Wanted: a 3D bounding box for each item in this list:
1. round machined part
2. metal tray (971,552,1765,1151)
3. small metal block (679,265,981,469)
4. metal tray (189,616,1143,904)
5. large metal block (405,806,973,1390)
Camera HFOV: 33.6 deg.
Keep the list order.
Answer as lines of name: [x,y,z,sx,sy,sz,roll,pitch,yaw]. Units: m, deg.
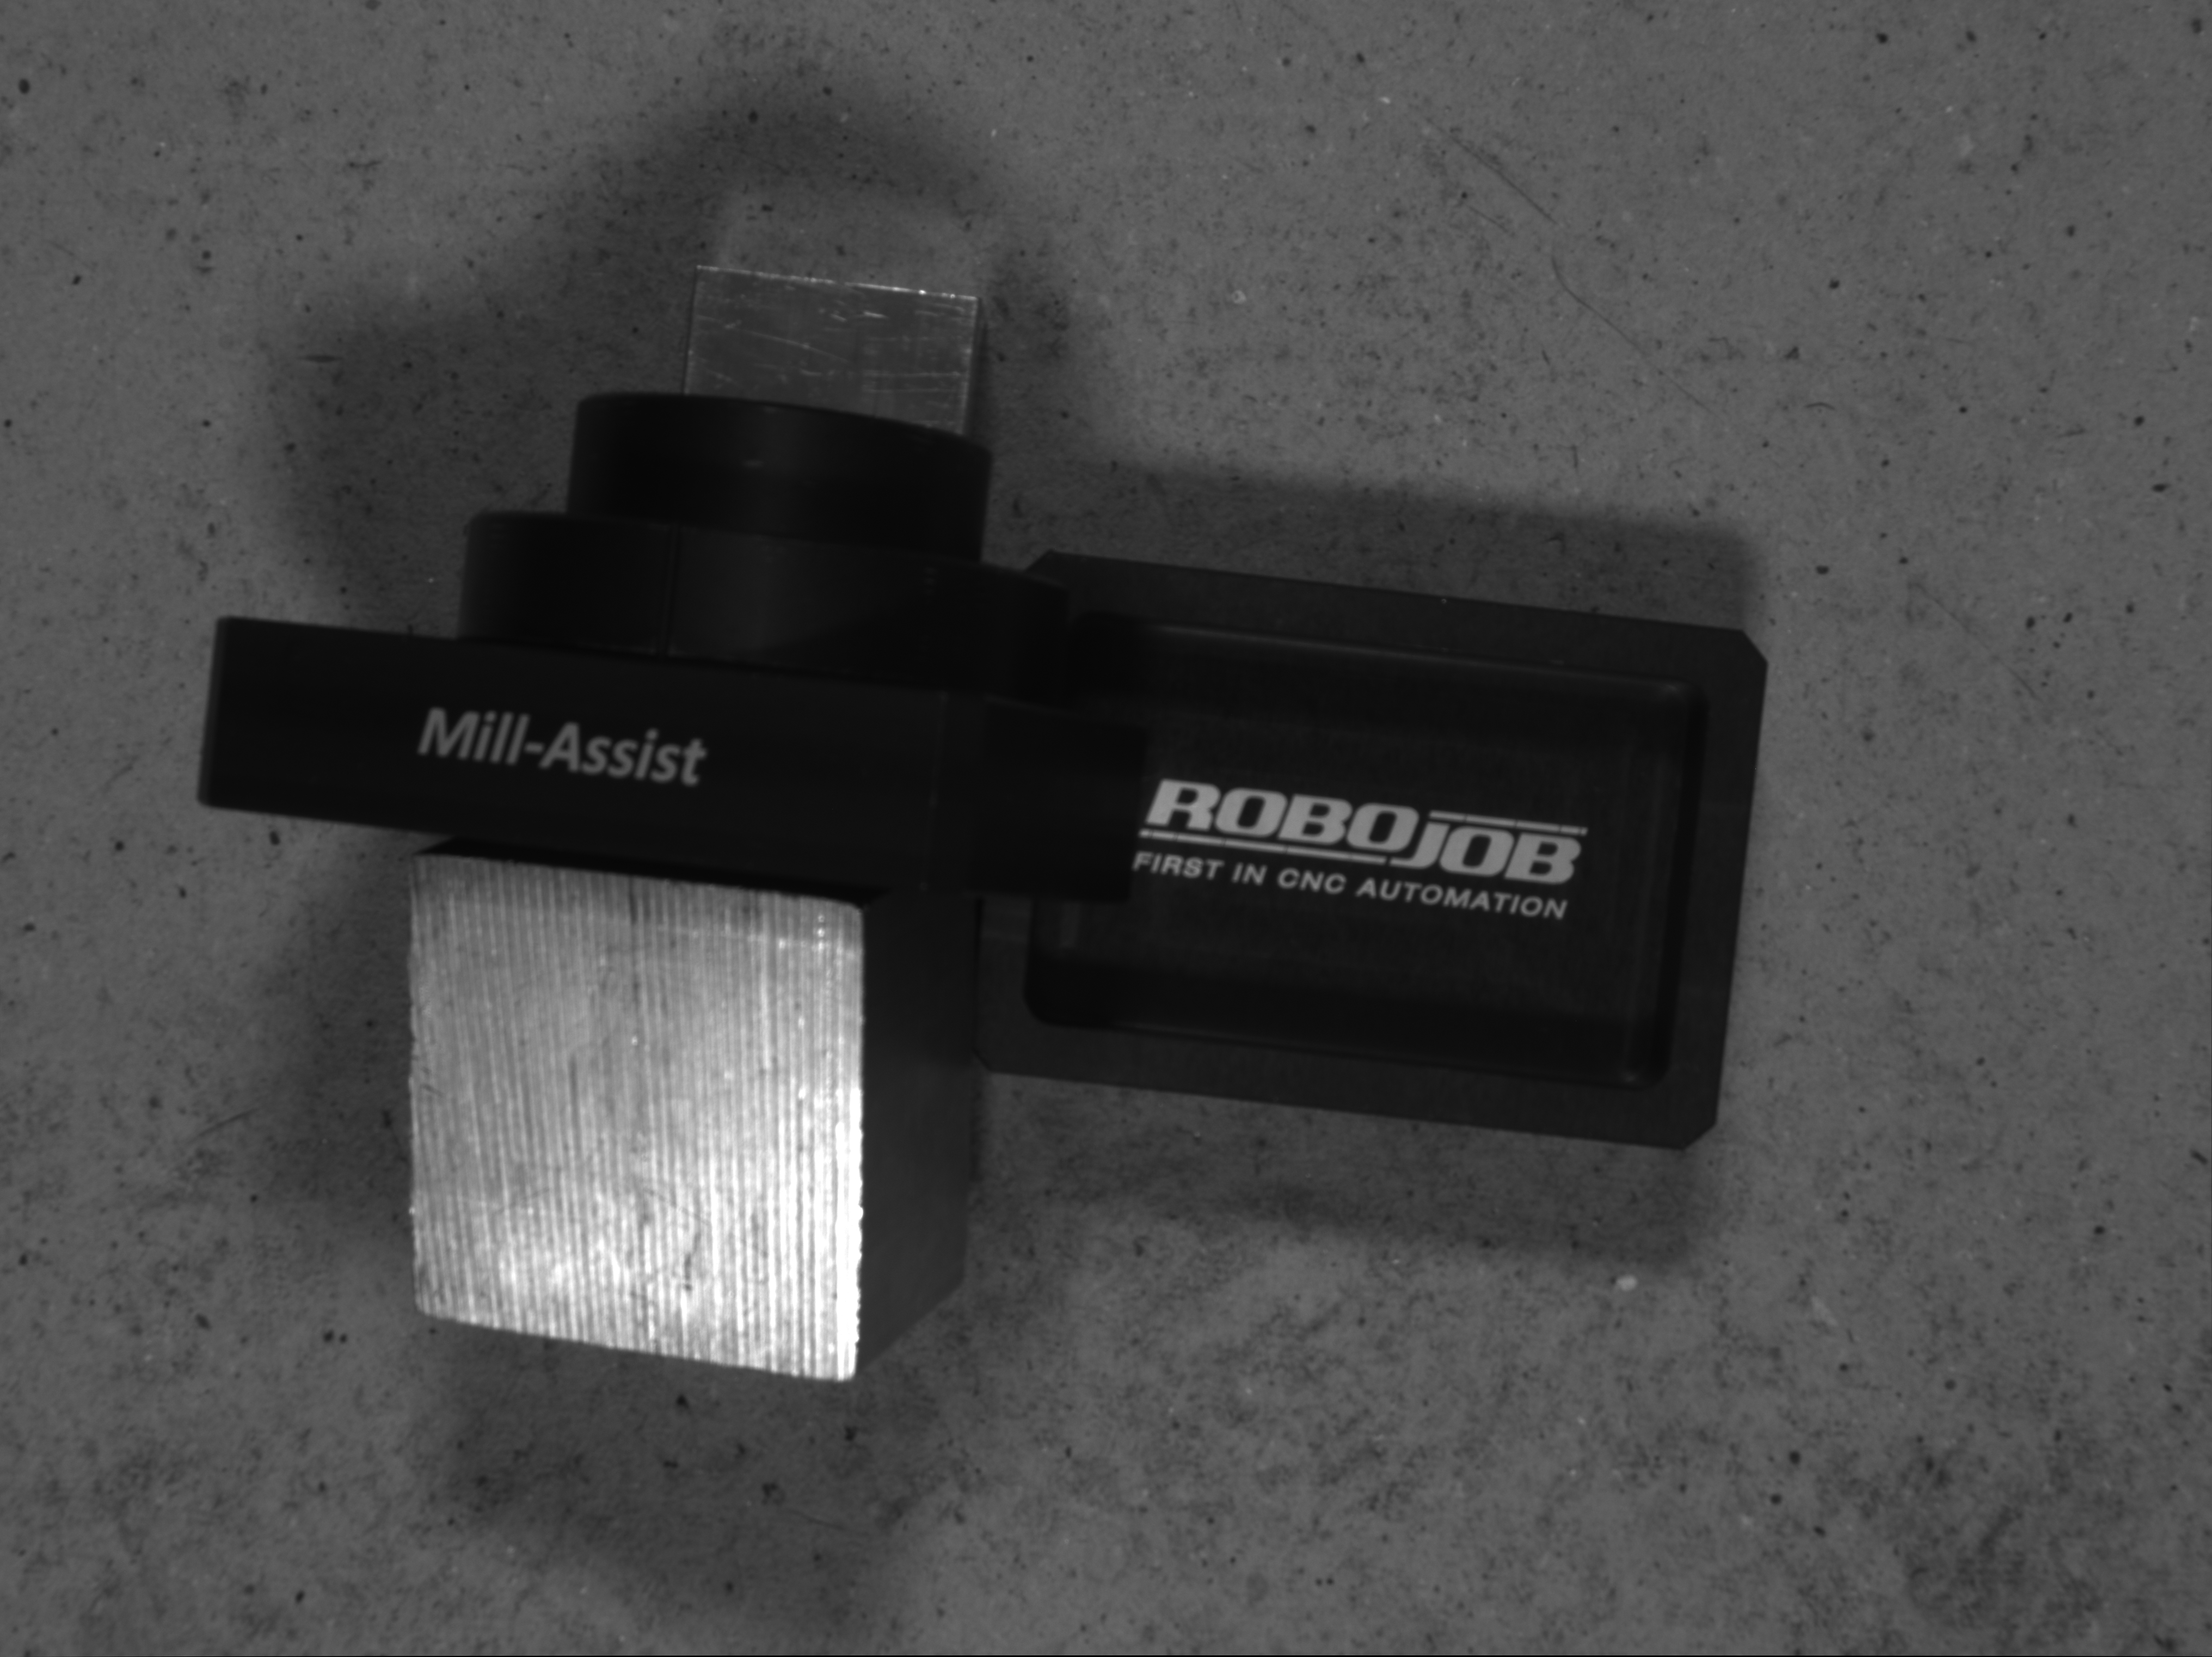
round machined part: [-0.055,-0.045,0.598,0.098,0.098,0.042,6,90,0]
metal tray: [0.044,0.004,0.643,0.130,0.030,0.090,6,90,-1]
small metal block: [-0.050,-0.070,0.645,0.050,0.025,0.050,7,90,0]
metal tray: [-0.069,-0.010,0.595,0.130,0.090,0.030,7,90,18]
large metal block: [-0.069,0.042,0.613,0.080,0.050,0.080,6,103,17]
